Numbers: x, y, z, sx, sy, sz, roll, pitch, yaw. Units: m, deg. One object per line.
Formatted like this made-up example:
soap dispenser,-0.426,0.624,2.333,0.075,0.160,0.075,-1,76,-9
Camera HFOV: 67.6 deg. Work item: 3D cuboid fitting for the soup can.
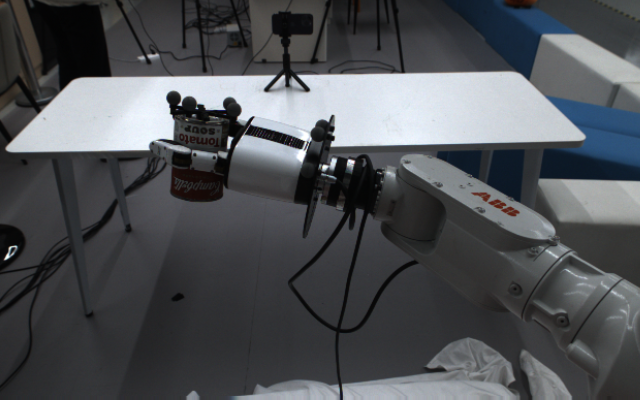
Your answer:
soup can,-0.152,-0.055,0.611,0.067,0.101,0.067,8,19,-3
